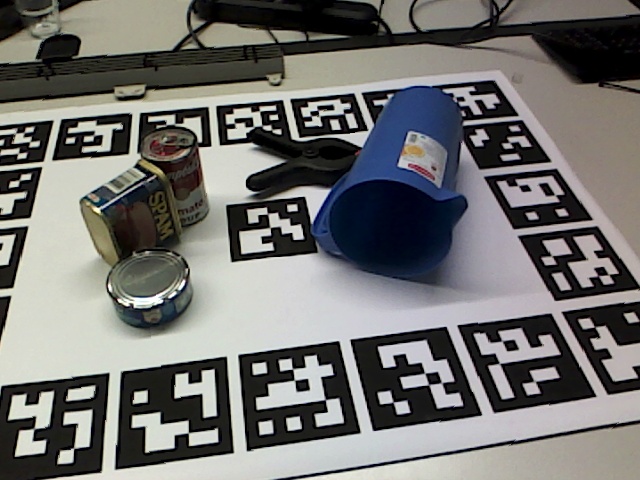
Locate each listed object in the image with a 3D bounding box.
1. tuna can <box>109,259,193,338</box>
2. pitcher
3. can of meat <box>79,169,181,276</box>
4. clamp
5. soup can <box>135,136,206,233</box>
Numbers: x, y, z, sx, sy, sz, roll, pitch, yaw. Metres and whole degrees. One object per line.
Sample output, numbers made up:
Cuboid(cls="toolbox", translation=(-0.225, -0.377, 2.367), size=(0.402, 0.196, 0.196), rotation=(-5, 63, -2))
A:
Cuboid(cls="tuna can", translation=(-0.183, 0.064, 0.673), size=(0.086, 0.033, 0.086), rotation=(0, 47, 0))
Cuboid(cls="pitcher", translation=(0.093, -0.078, 0.738), size=(0.189, 0.132, 0.242), rotation=(-9, 34, 23))
Cuboid(cls="can of meat", translation=(-0.215, -0.016, 0.702), size=(0.058, 0.101, 0.083), rotation=(35, 58, 29))
Cuboid(cls="clamp", translation=(-0.037, -0.098, 0.846), size=(0.165, 0.036, 0.122), rotation=(-3, 41, -8))
Cuboid(cls="soup can", translation=(-0.181, -0.067, 0.759), size=(0.068, 0.102, 0.068), rotation=(-2, 47, 2))
